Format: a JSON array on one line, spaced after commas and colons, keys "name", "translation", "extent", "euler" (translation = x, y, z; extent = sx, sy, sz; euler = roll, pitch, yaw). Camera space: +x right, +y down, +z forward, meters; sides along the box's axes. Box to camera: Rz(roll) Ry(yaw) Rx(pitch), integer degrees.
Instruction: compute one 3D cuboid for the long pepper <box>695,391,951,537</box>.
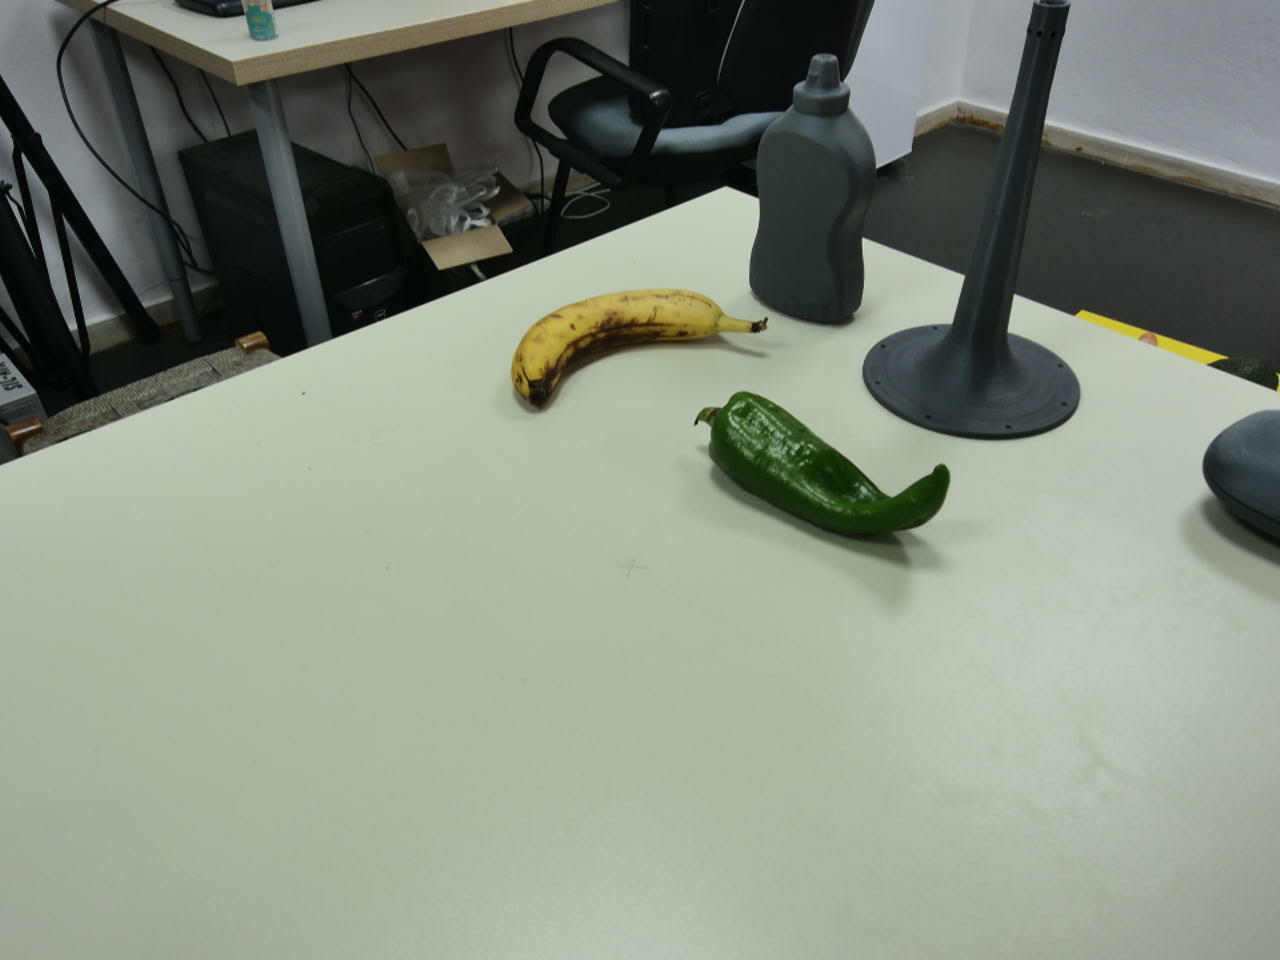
[{"name": "long pepper", "translation": [0.099, -0.013, 0.597], "extent": [0.058, 0.065, 0.175], "euler": [-29, 45, -33]}]
